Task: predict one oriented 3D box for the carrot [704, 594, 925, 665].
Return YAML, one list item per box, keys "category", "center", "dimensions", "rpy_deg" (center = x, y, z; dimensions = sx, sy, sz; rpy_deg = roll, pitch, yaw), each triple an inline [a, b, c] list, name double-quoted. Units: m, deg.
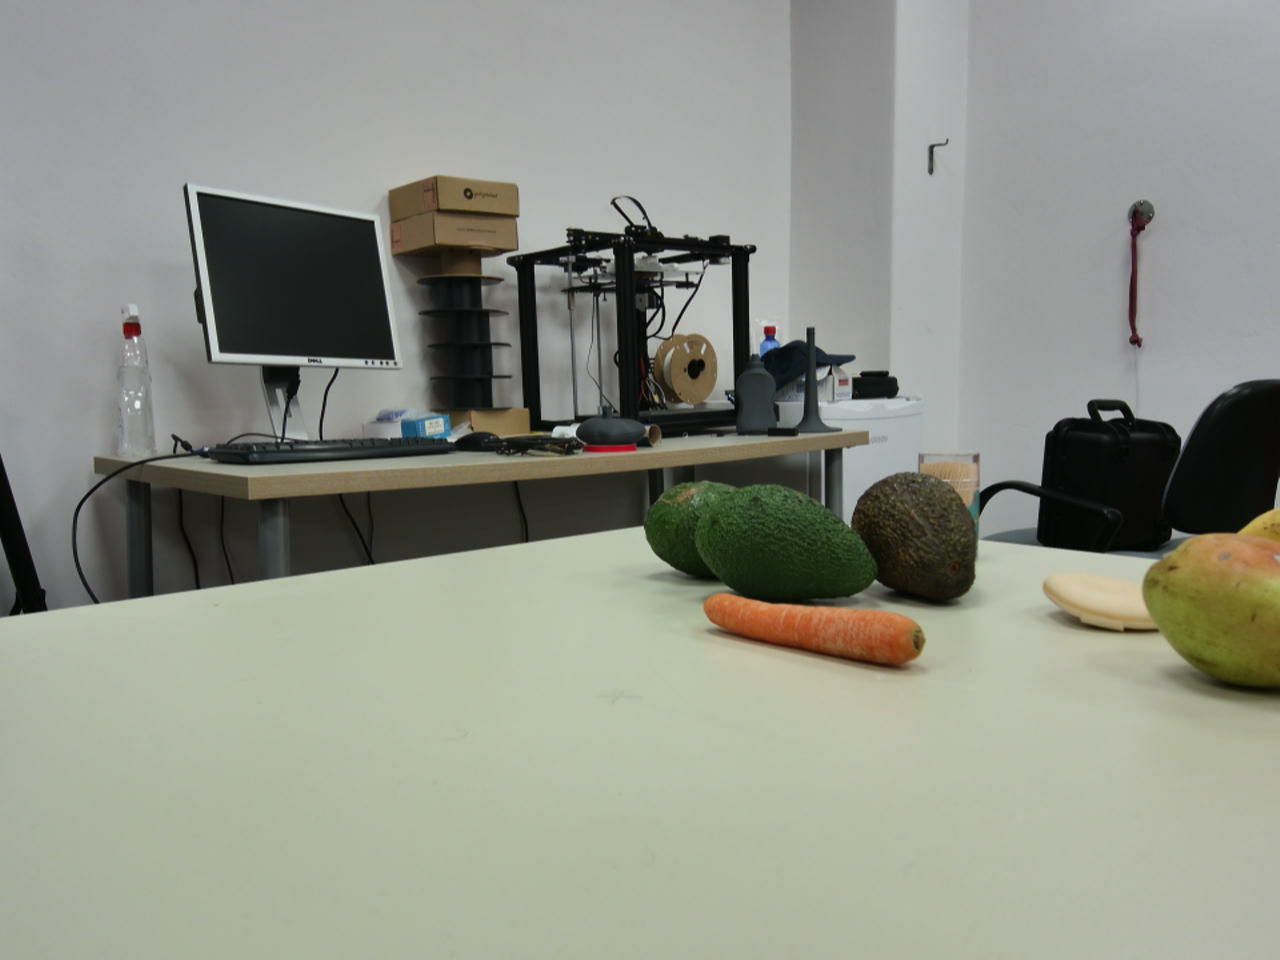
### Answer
- category: "carrot"
  center: [0.078, 0.068, 0.473]
  dimensions: [0.024, 0.023, 0.122]
  rpy_deg: [-2, 4, -44]
